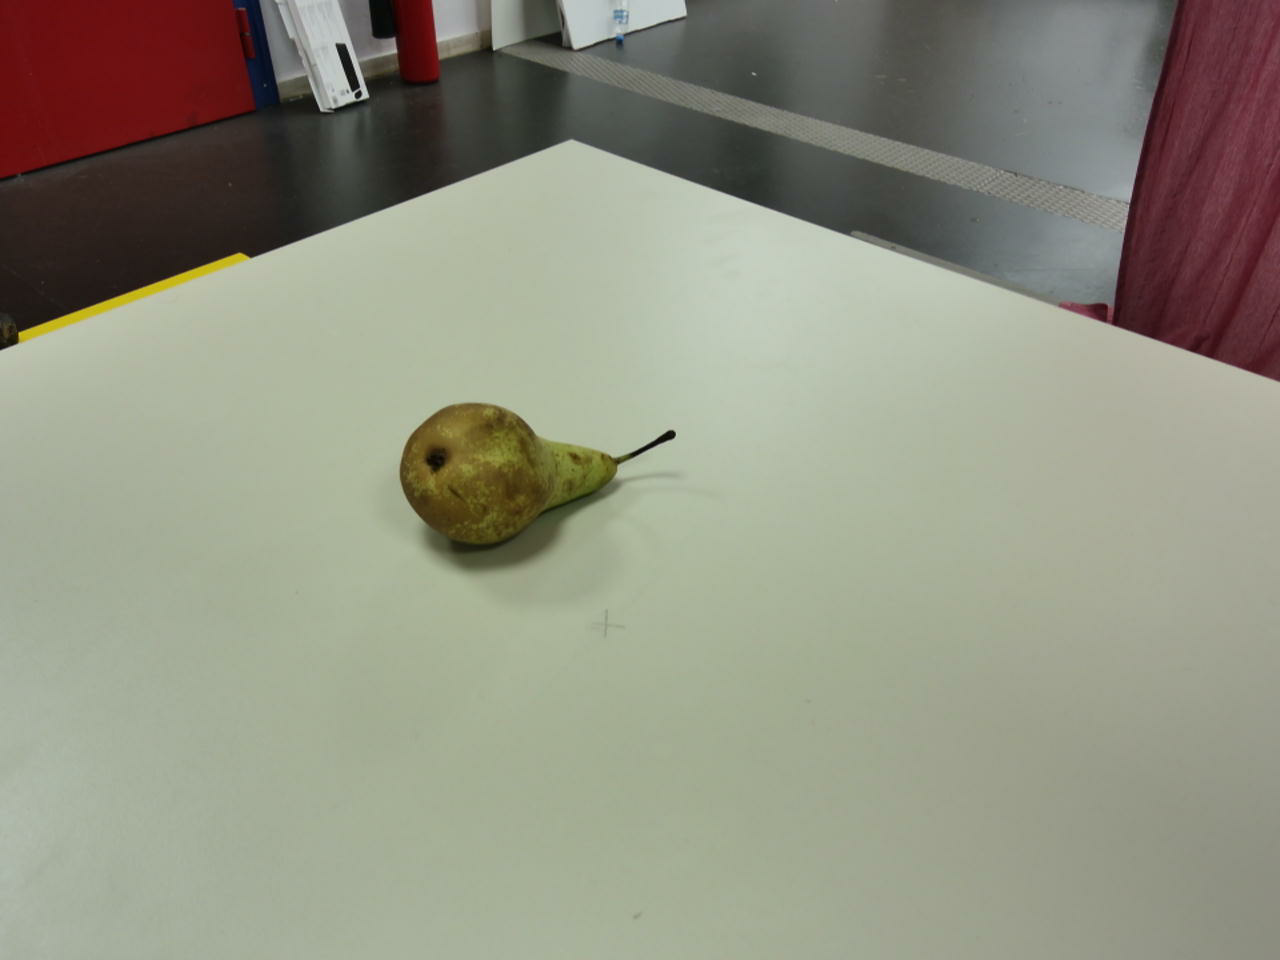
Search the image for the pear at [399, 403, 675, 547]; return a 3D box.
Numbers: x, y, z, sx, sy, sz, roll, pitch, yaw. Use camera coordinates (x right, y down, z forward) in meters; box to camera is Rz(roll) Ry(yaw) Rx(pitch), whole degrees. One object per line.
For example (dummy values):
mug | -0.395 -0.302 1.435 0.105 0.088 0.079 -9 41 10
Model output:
pear | -0.057 -0.017 0.519 0.144 0.075 0.071 -29 46 -33
